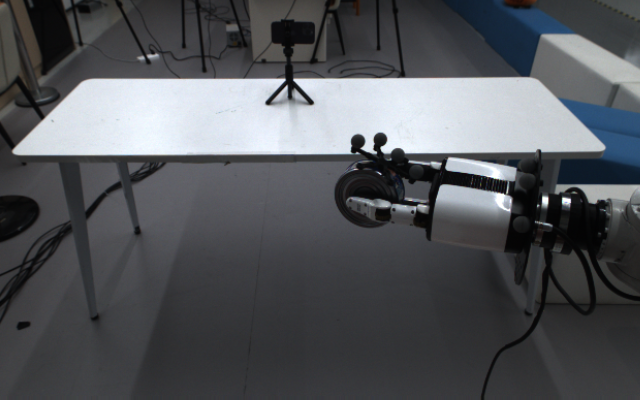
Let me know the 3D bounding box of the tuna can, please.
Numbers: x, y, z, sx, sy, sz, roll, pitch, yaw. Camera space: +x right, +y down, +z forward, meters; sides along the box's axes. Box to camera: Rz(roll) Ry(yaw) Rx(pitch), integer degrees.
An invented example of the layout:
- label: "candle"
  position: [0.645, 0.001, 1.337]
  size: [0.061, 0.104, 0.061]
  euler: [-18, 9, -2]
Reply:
- label: "tuna can"
  position: [0.066, -0.002, 0.615]
  size: [0.085, 0.085, 0.034]
  euler: [15, 31, 18]
